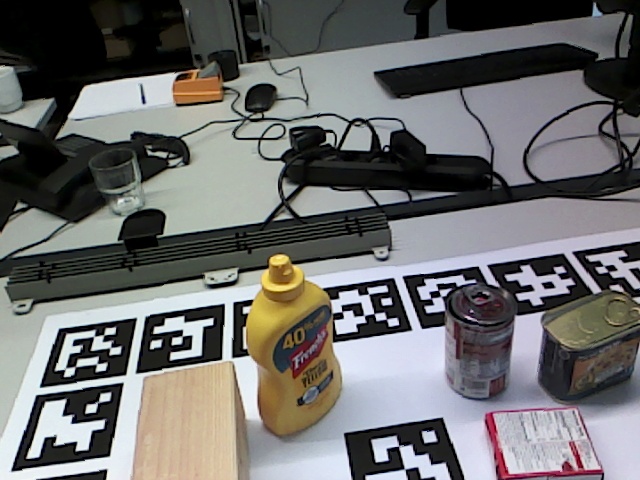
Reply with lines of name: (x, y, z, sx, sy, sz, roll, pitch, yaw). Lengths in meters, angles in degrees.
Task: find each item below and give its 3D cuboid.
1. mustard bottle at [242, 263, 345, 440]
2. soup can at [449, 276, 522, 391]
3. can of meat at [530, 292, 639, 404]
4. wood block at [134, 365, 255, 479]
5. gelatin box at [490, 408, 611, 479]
mustard bottle: (-0.027, 0.104, 0.604, 0.096, 0.191, 0.059, -23, 37, -24)
soup can: (0.167, 0.097, 0.634, 0.068, 0.101, 0.068, -5, 36, 3)
can of meat: (0.268, 0.111, 0.629, 0.101, 0.083, 0.058, -15, 36, -15)
wood block: (-0.106, 0.215, 0.539, 0.091, 0.089, 0.207, -7, 30, -3)
gelatin box: (0.206, 0.192, 0.561, 0.089, 0.030, 0.073, -5, 36, 8)
